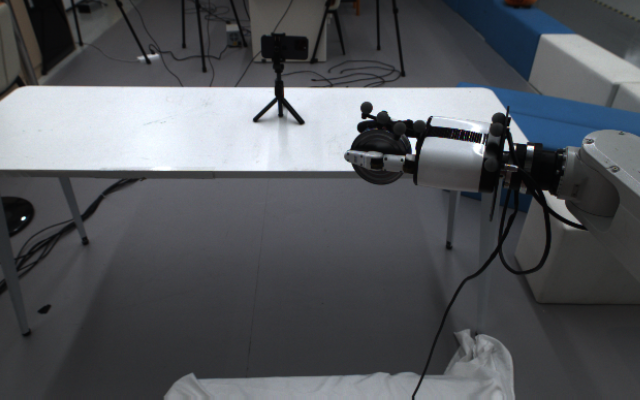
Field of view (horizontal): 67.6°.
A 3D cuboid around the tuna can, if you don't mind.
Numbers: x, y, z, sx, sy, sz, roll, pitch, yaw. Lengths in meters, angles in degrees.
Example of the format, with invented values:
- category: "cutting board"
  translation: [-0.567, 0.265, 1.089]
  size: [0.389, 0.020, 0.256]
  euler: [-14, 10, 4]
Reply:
- category: "tuna can"
  translation: [0.091, -0.069, 0.708]
  size: [0.085, 0.085, 0.034]
  euler: [16, 28, 19]
